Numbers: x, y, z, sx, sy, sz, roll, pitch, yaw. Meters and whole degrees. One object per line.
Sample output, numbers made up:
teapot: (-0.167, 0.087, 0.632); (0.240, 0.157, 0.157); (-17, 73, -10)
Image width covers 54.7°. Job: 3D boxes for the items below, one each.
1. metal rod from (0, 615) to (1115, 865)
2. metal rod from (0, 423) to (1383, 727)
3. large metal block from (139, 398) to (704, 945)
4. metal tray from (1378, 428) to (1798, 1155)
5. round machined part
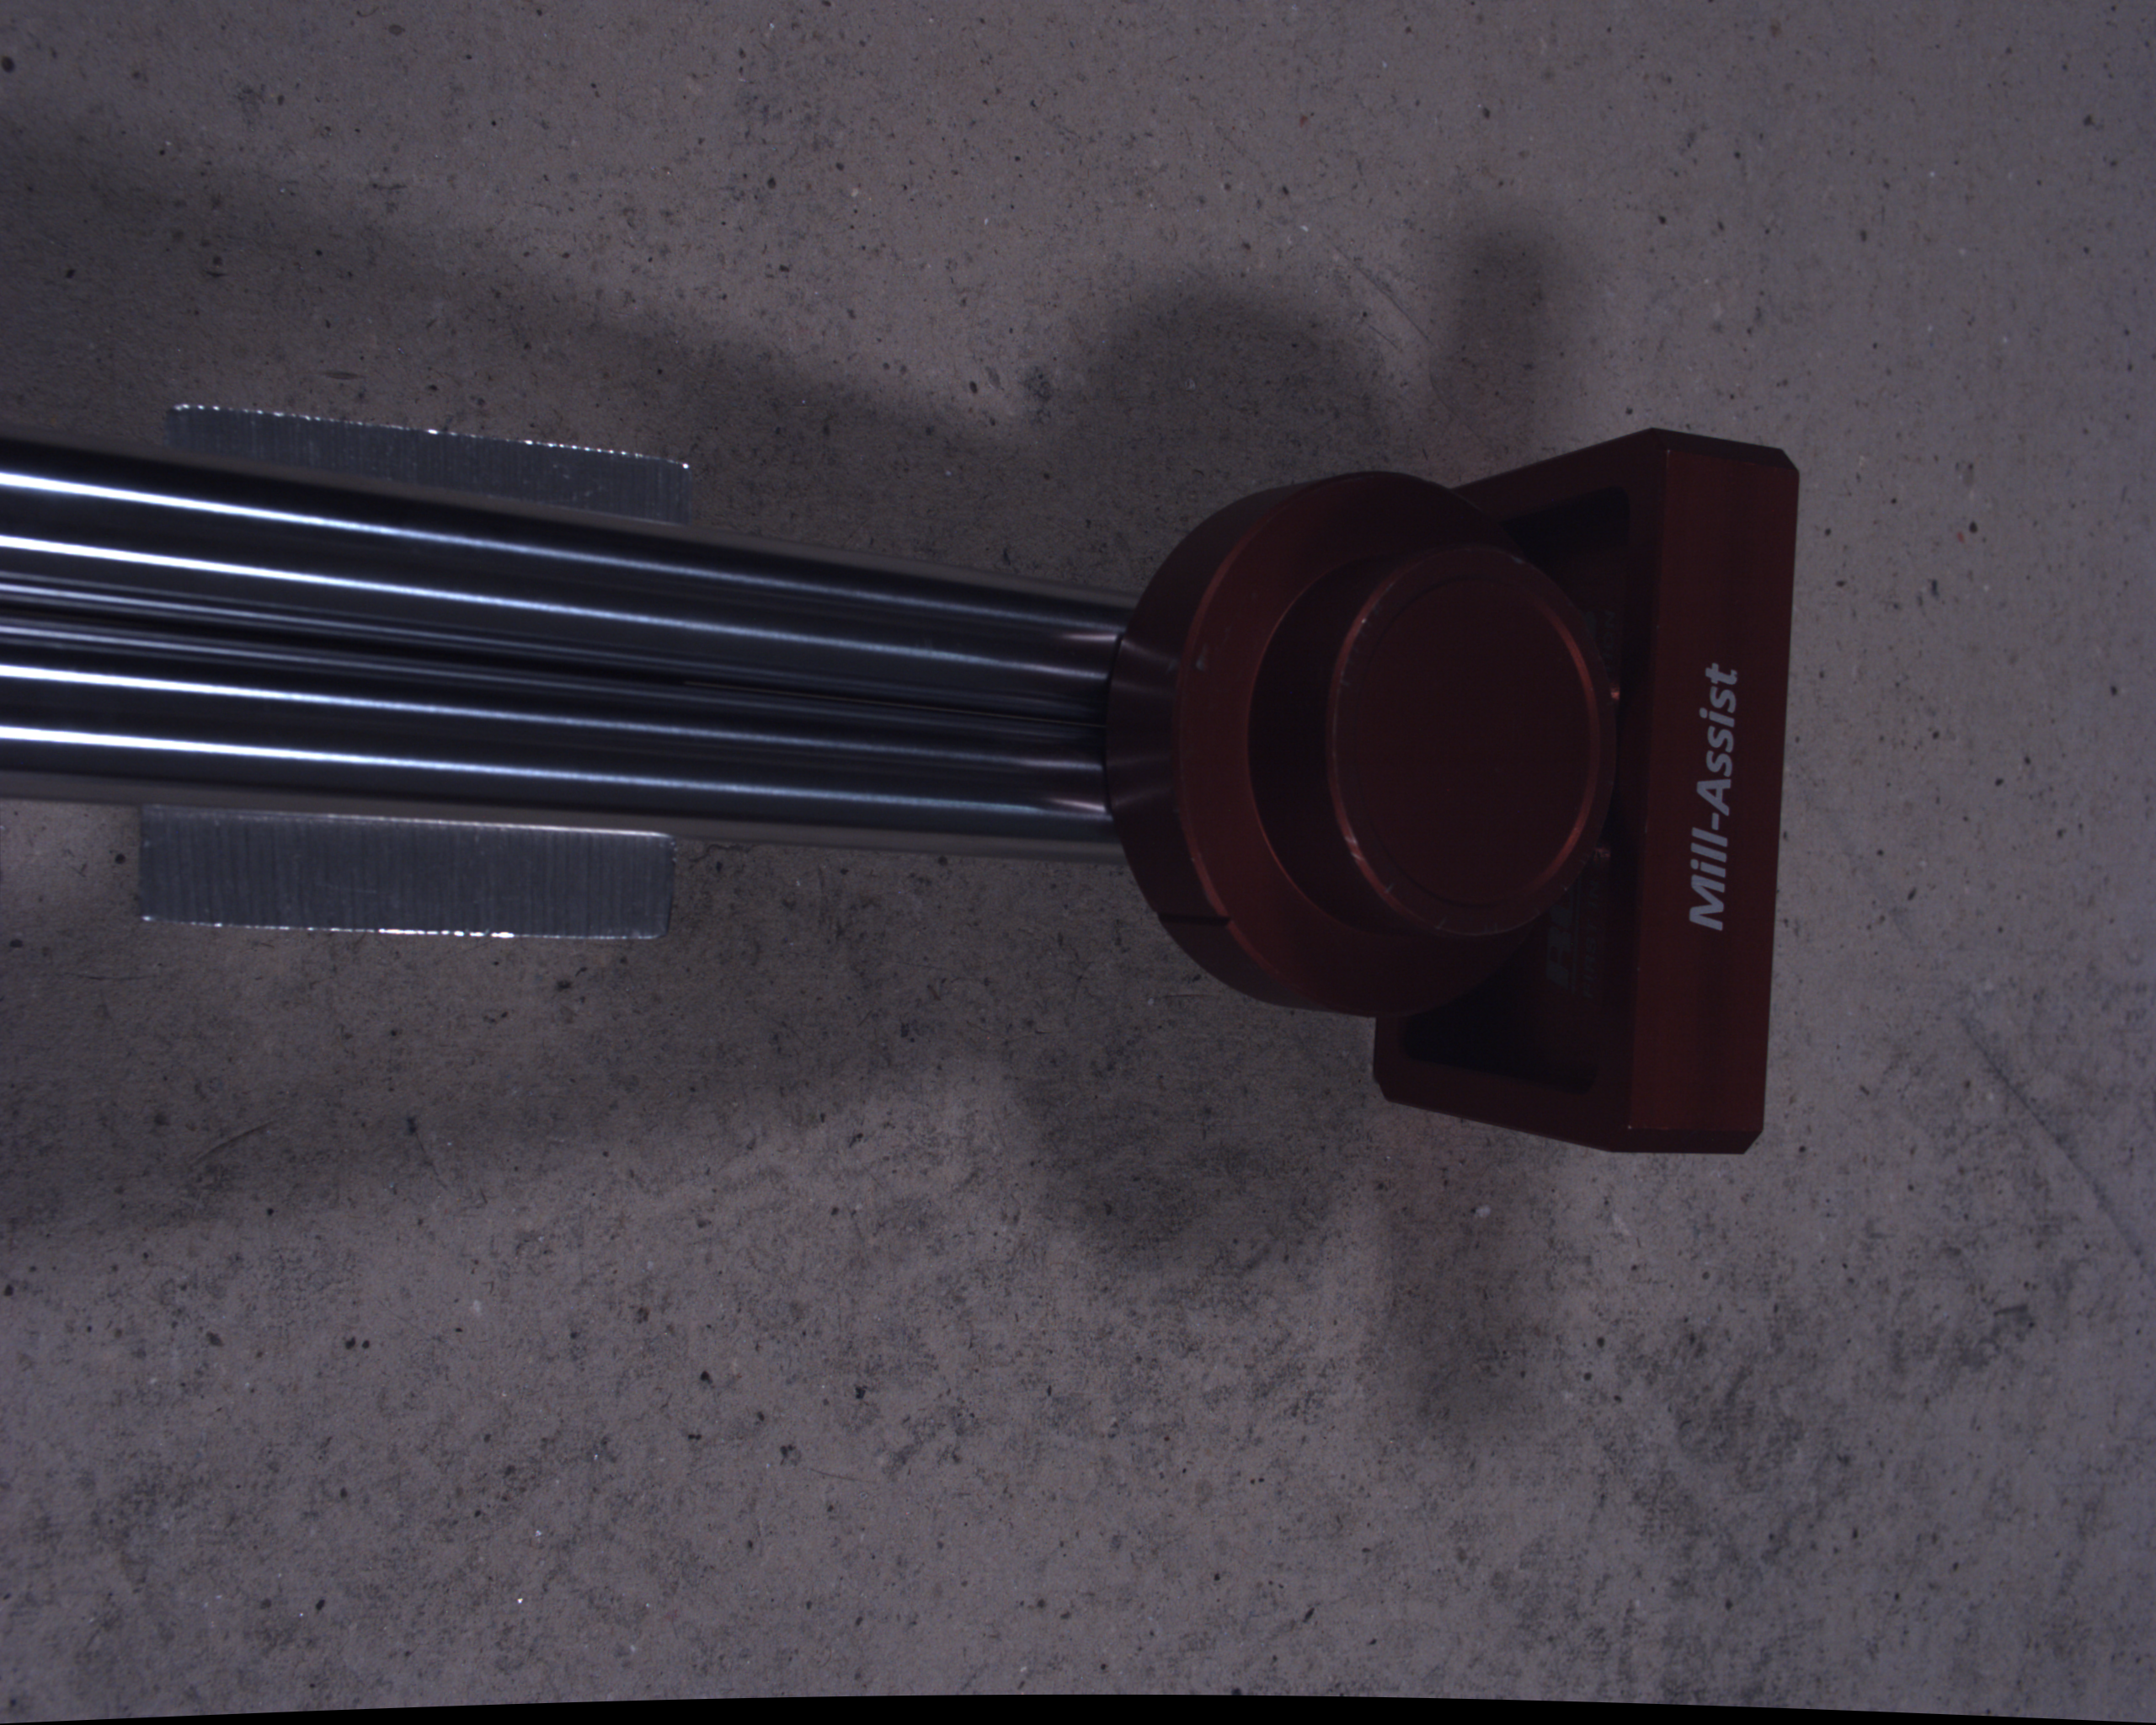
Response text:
metal rod: (-0.042, -0.015, 0.348); (0.302, 0.025, 0.025); (3, 89, -33)
metal rod: (-0.040, -0.042, 0.348); (0.302, 0.025, 0.025); (3, 89, -33)
large metal block: (-0.110, -0.029, 0.353); (0.081, 0.050, 0.079); (4, 89, -20)
metal tray: (0.097, -0.012, 0.412); (0.030, 0.090, 0.129); (4, 89, -20)
round machined part: (0.056, -0.021, 0.371); (0.099, 0.042, 0.097); (-2, 93, -31)
